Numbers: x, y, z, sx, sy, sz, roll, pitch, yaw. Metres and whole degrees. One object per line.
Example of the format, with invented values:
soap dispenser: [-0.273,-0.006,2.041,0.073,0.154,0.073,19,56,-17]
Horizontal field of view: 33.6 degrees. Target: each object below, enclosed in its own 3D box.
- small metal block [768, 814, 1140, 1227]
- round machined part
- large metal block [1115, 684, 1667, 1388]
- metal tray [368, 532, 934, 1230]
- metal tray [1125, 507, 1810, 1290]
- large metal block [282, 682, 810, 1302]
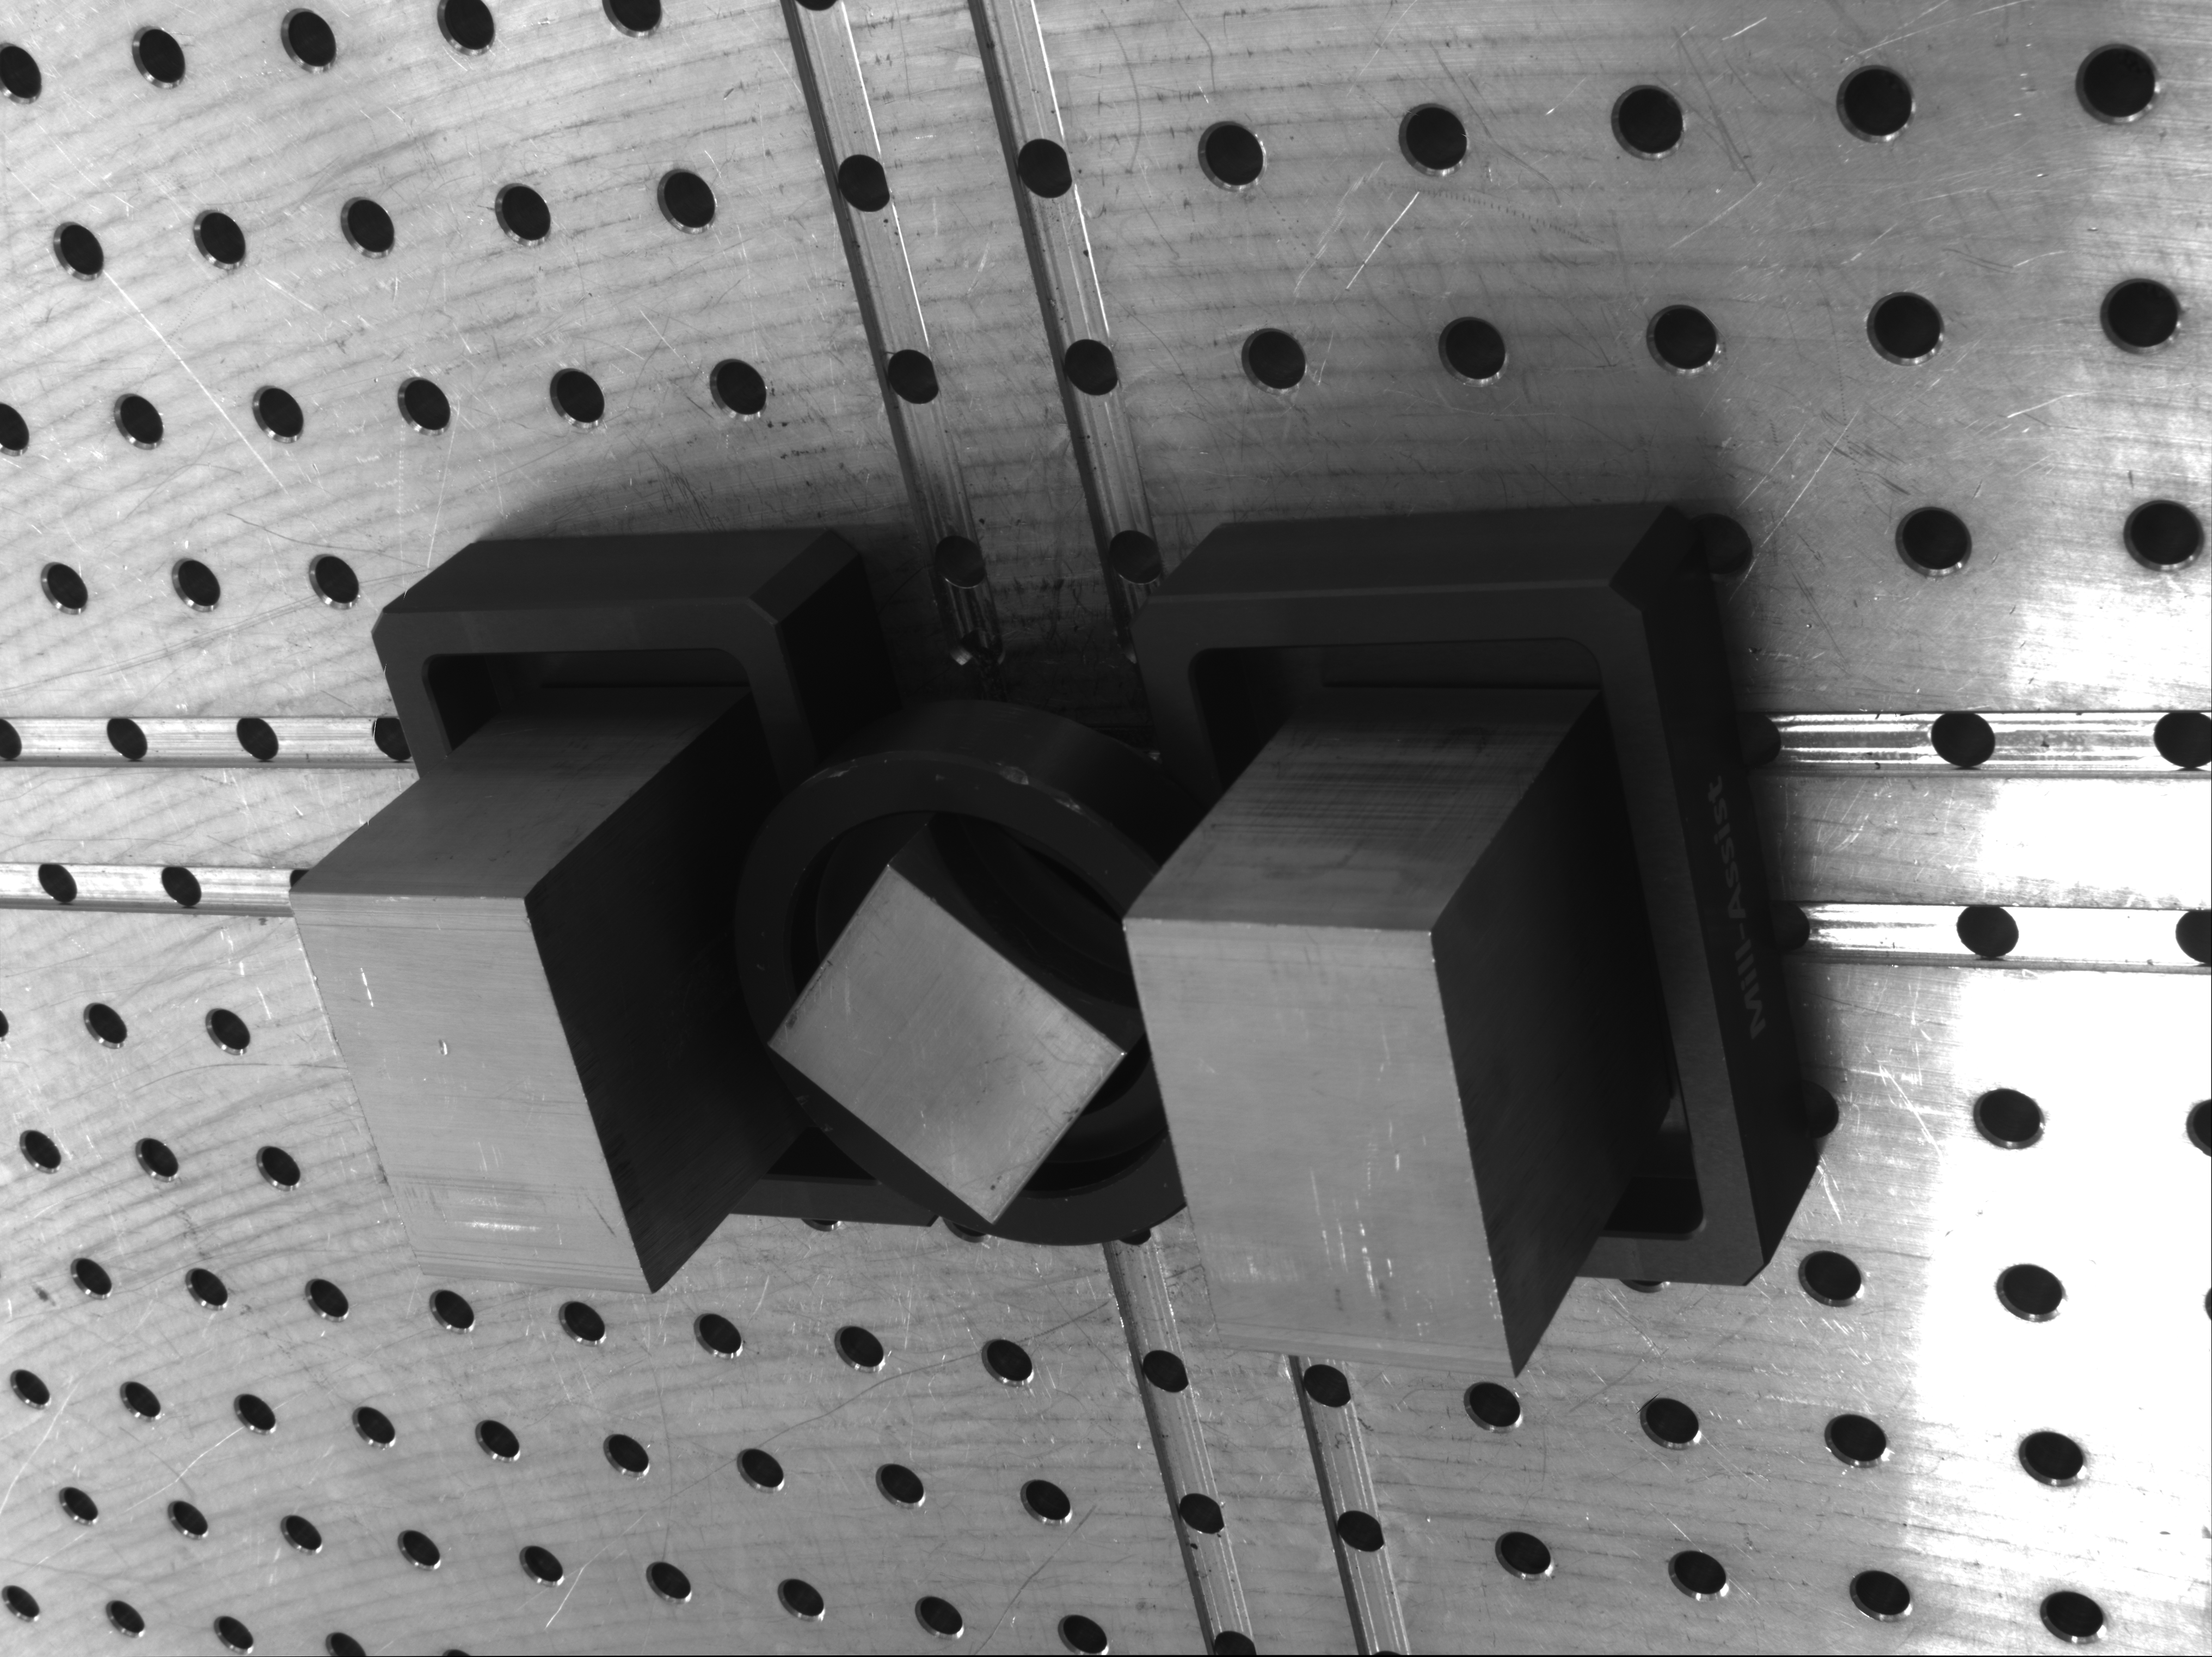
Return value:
small metal block: [-0.022,0.031,0.624,0.050,0.025,0.050,38,129,3]
round machined part: [-0.012,0.021,0.643,0.098,0.042,0.098,13,124,21]
large metal block: [0.049,0.031,0.585,0.050,0.080,0.080,1,119,28]
metal tray: [-0.077,0.011,0.689,0.090,0.030,0.130,1,118,28]
metal tray: [0.062,0.013,0.616,0.090,0.030,0.130,0,118,28]
large metal block: [-0.092,0.027,0.659,0.050,0.080,0.080,1,119,28]
